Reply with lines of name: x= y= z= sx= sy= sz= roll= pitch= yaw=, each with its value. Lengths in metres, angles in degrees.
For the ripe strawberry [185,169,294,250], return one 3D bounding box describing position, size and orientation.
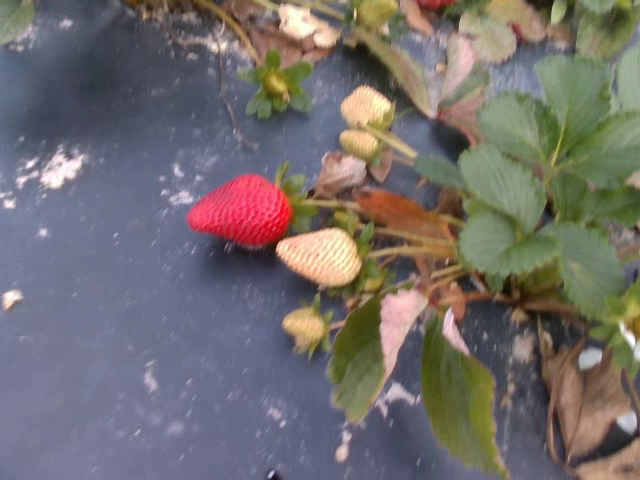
ripe strawberry: x=-0.040 y=-0.016 z=0.332 sx=0.059 sy=0.050 sz=0.034 roll=-20 pitch=-31 yaw=-40
